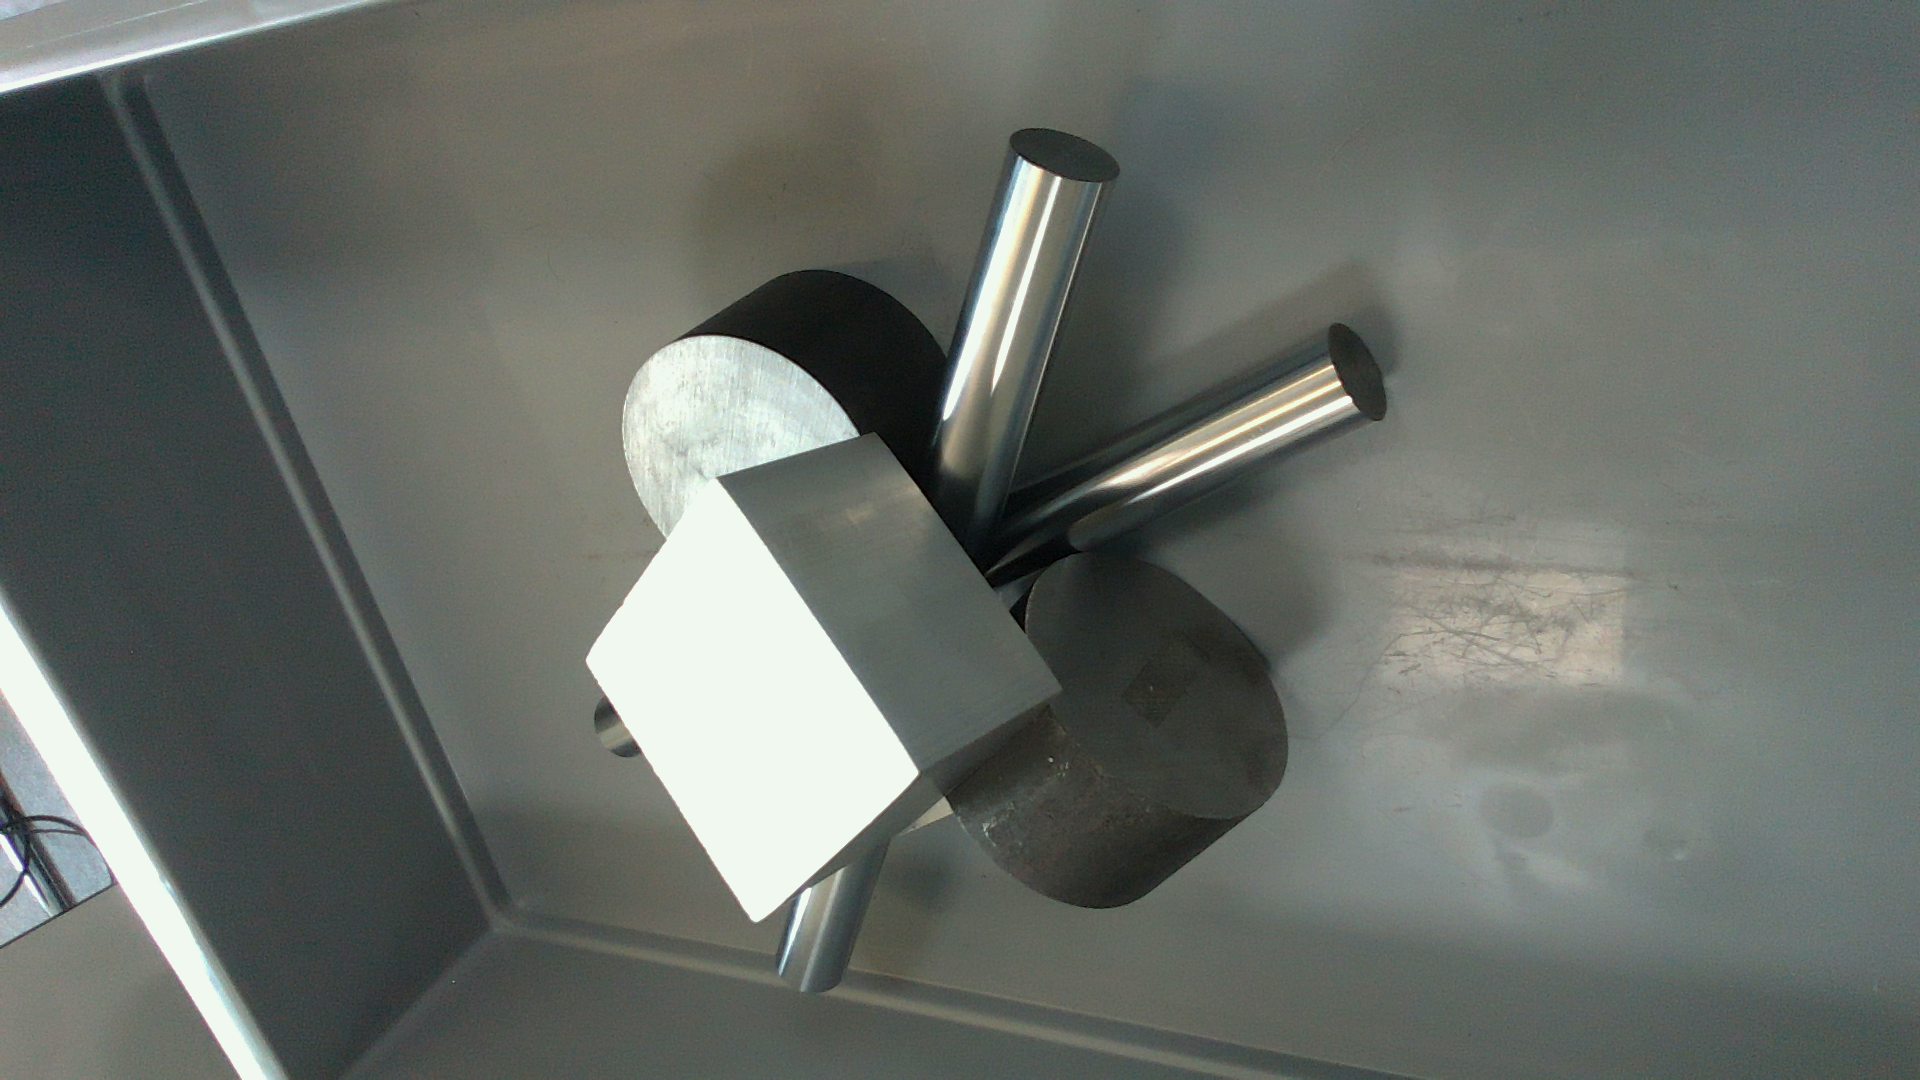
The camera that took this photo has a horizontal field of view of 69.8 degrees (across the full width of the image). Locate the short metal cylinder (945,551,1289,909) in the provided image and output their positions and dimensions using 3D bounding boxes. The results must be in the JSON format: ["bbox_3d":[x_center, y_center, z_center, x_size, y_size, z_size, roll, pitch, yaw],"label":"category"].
[{"bbox_3d":[0.040,0.050,0.366,0.080,0.080,0.050,40,130,1],"label":"short metal cylinder"}]

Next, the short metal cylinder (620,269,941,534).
[{"bbox_3d":[-0.046,-0.028,0.382,0.080,0.050,0.080,13,124,21],"label":"short metal cylinder"}]

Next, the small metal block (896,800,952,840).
[{"bbox_3d":[-0.014,0.062,0.437,0.050,0.025,0.050,-32,101,38],"label":"small metal block"}]

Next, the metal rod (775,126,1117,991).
[{"bbox_3d":[-0.015,0.031,0.386,0.025,0.025,0.300,27,128,12],"label":"metal rod"}]

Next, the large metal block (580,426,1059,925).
[{"bbox_3d":[-0.037,0.033,0.333,0.080,0.050,0.080,54,131,12],"label":"large metal block"}]

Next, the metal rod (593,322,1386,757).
[{"bbox_3d":[-0.015,0.014,0.408,0.299,0.025,0.025,-26,104,37],"label":"metal rod"}]
